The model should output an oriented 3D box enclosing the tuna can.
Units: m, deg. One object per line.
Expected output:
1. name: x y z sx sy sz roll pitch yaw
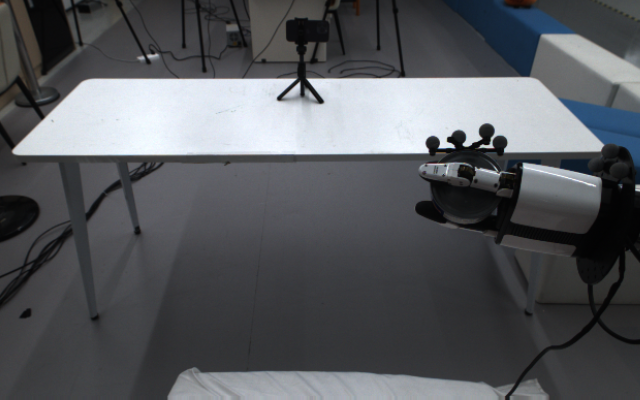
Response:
1. tuna can: 0.178 -0.016 0.587 0.085 0.034 0.085 -3 73 11
